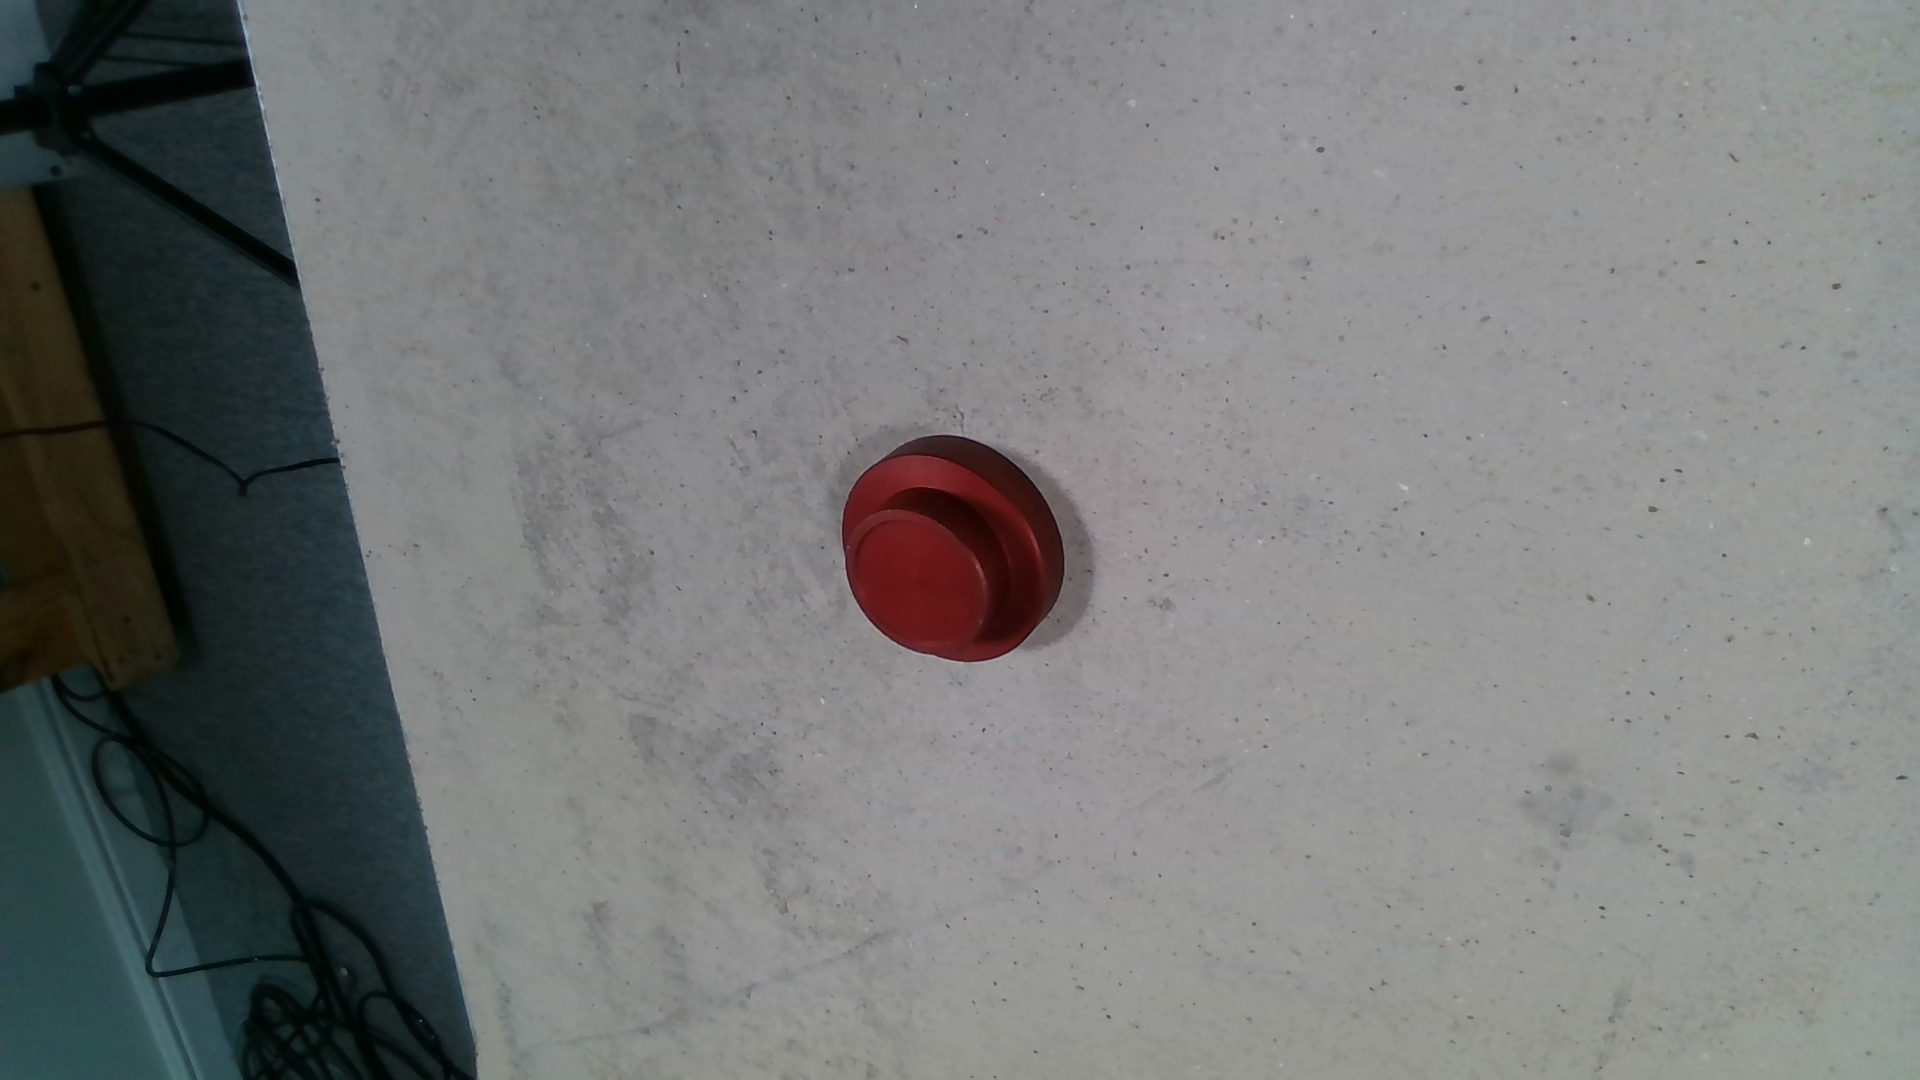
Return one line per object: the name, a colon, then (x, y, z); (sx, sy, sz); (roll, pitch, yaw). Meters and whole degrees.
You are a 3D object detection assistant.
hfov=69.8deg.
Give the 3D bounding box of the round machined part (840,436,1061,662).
round machined part: (-0.010, 0.009, 0.579); (0.098, 0.042, 0.098); (14, 122, 25)
